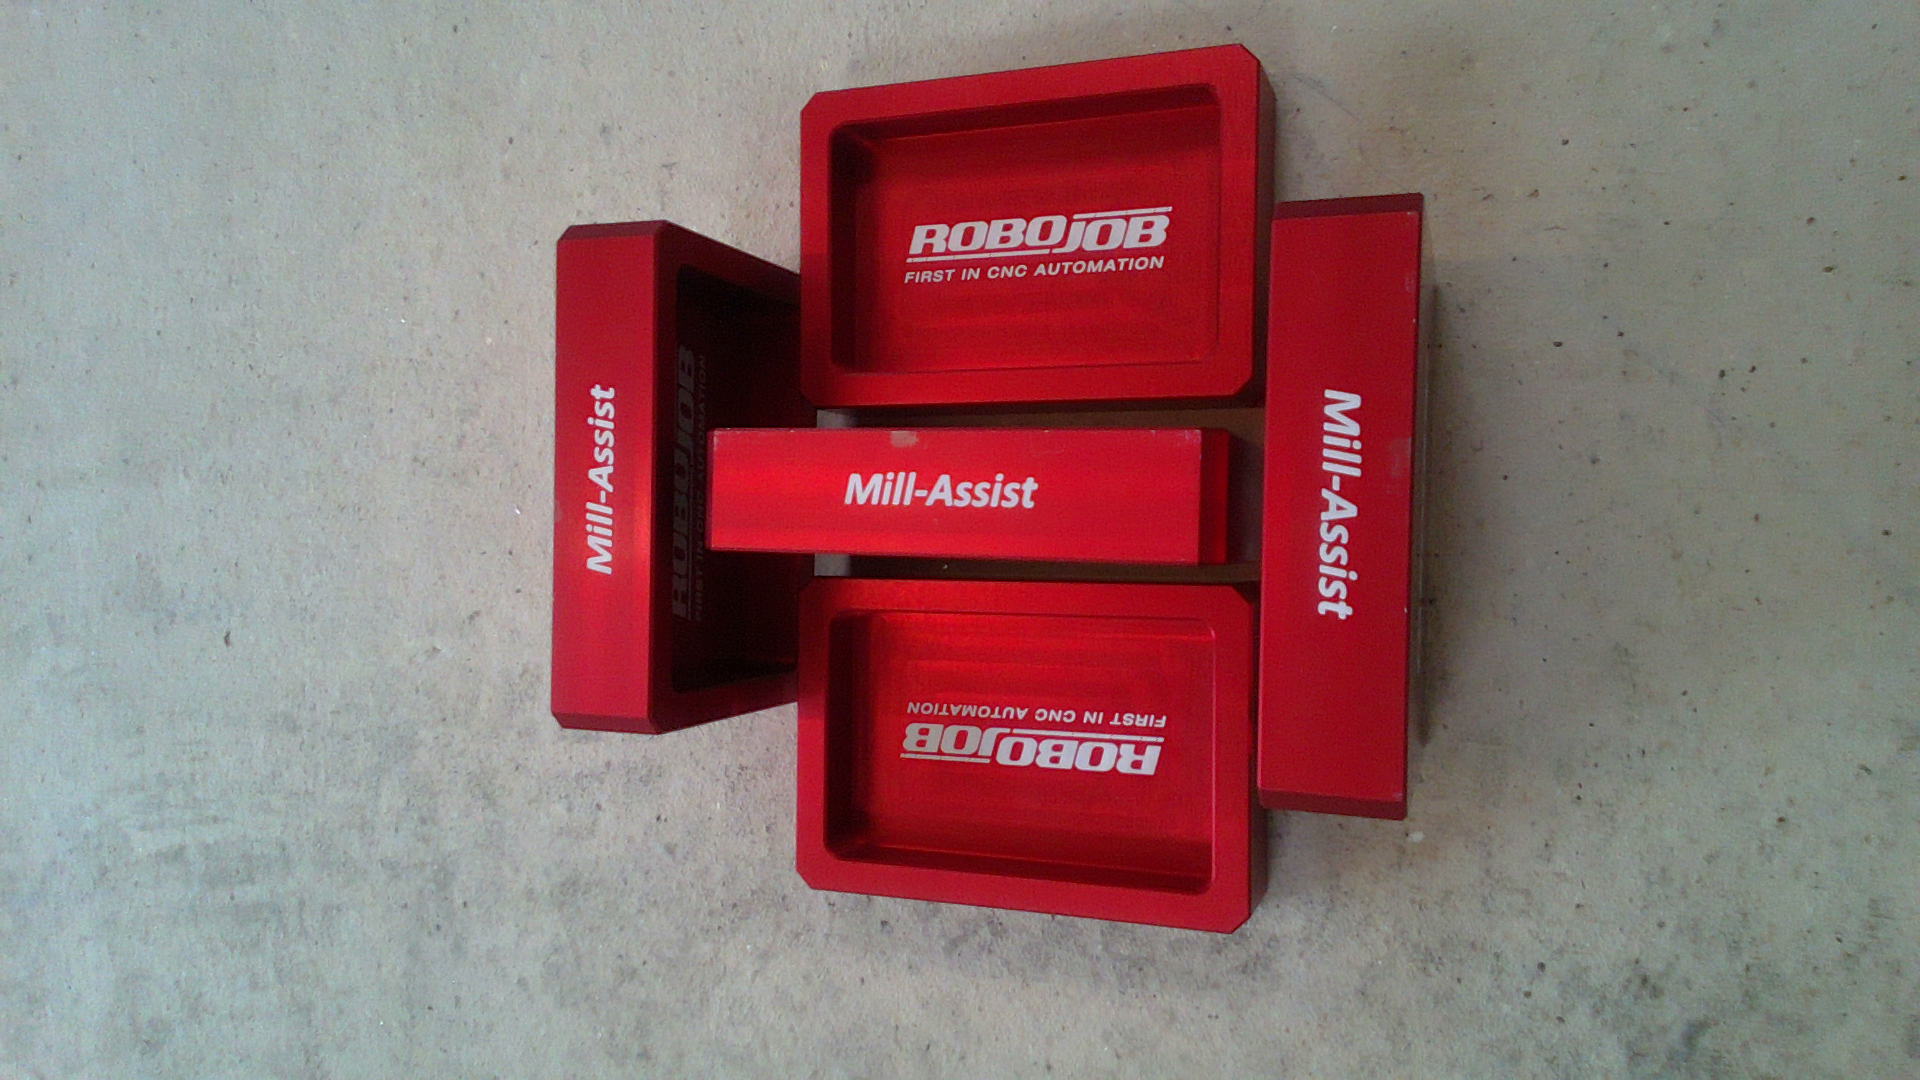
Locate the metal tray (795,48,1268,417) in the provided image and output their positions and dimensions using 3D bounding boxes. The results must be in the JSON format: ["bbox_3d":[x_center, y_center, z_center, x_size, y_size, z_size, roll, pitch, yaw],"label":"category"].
[{"bbox_3d":[0.019,-0.082,0.387,0.130,0.030,0.090,0,93,20],"label":"metal tray"}]

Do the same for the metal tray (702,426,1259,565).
[{"bbox_3d":[0.010,-0.012,0.359,0.130,0.090,0.030,1,92,20],"label":"metal tray"}]

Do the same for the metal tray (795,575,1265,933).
[{"bbox_3d":[0.019,0.056,0.388,0.130,0.030,0.090,1,89,20],"label":"metal tray"}]

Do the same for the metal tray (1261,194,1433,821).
[{"bbox_3d":[0.094,-0.007,0.327,0.030,0.090,0.130,1,90,20],"label":"metal tray"}]

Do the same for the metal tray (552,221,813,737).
[{"bbox_3d":[-0.075,-0.016,0.389,0.030,0.090,0.130,1,91,20],"label":"metal tray"}]
